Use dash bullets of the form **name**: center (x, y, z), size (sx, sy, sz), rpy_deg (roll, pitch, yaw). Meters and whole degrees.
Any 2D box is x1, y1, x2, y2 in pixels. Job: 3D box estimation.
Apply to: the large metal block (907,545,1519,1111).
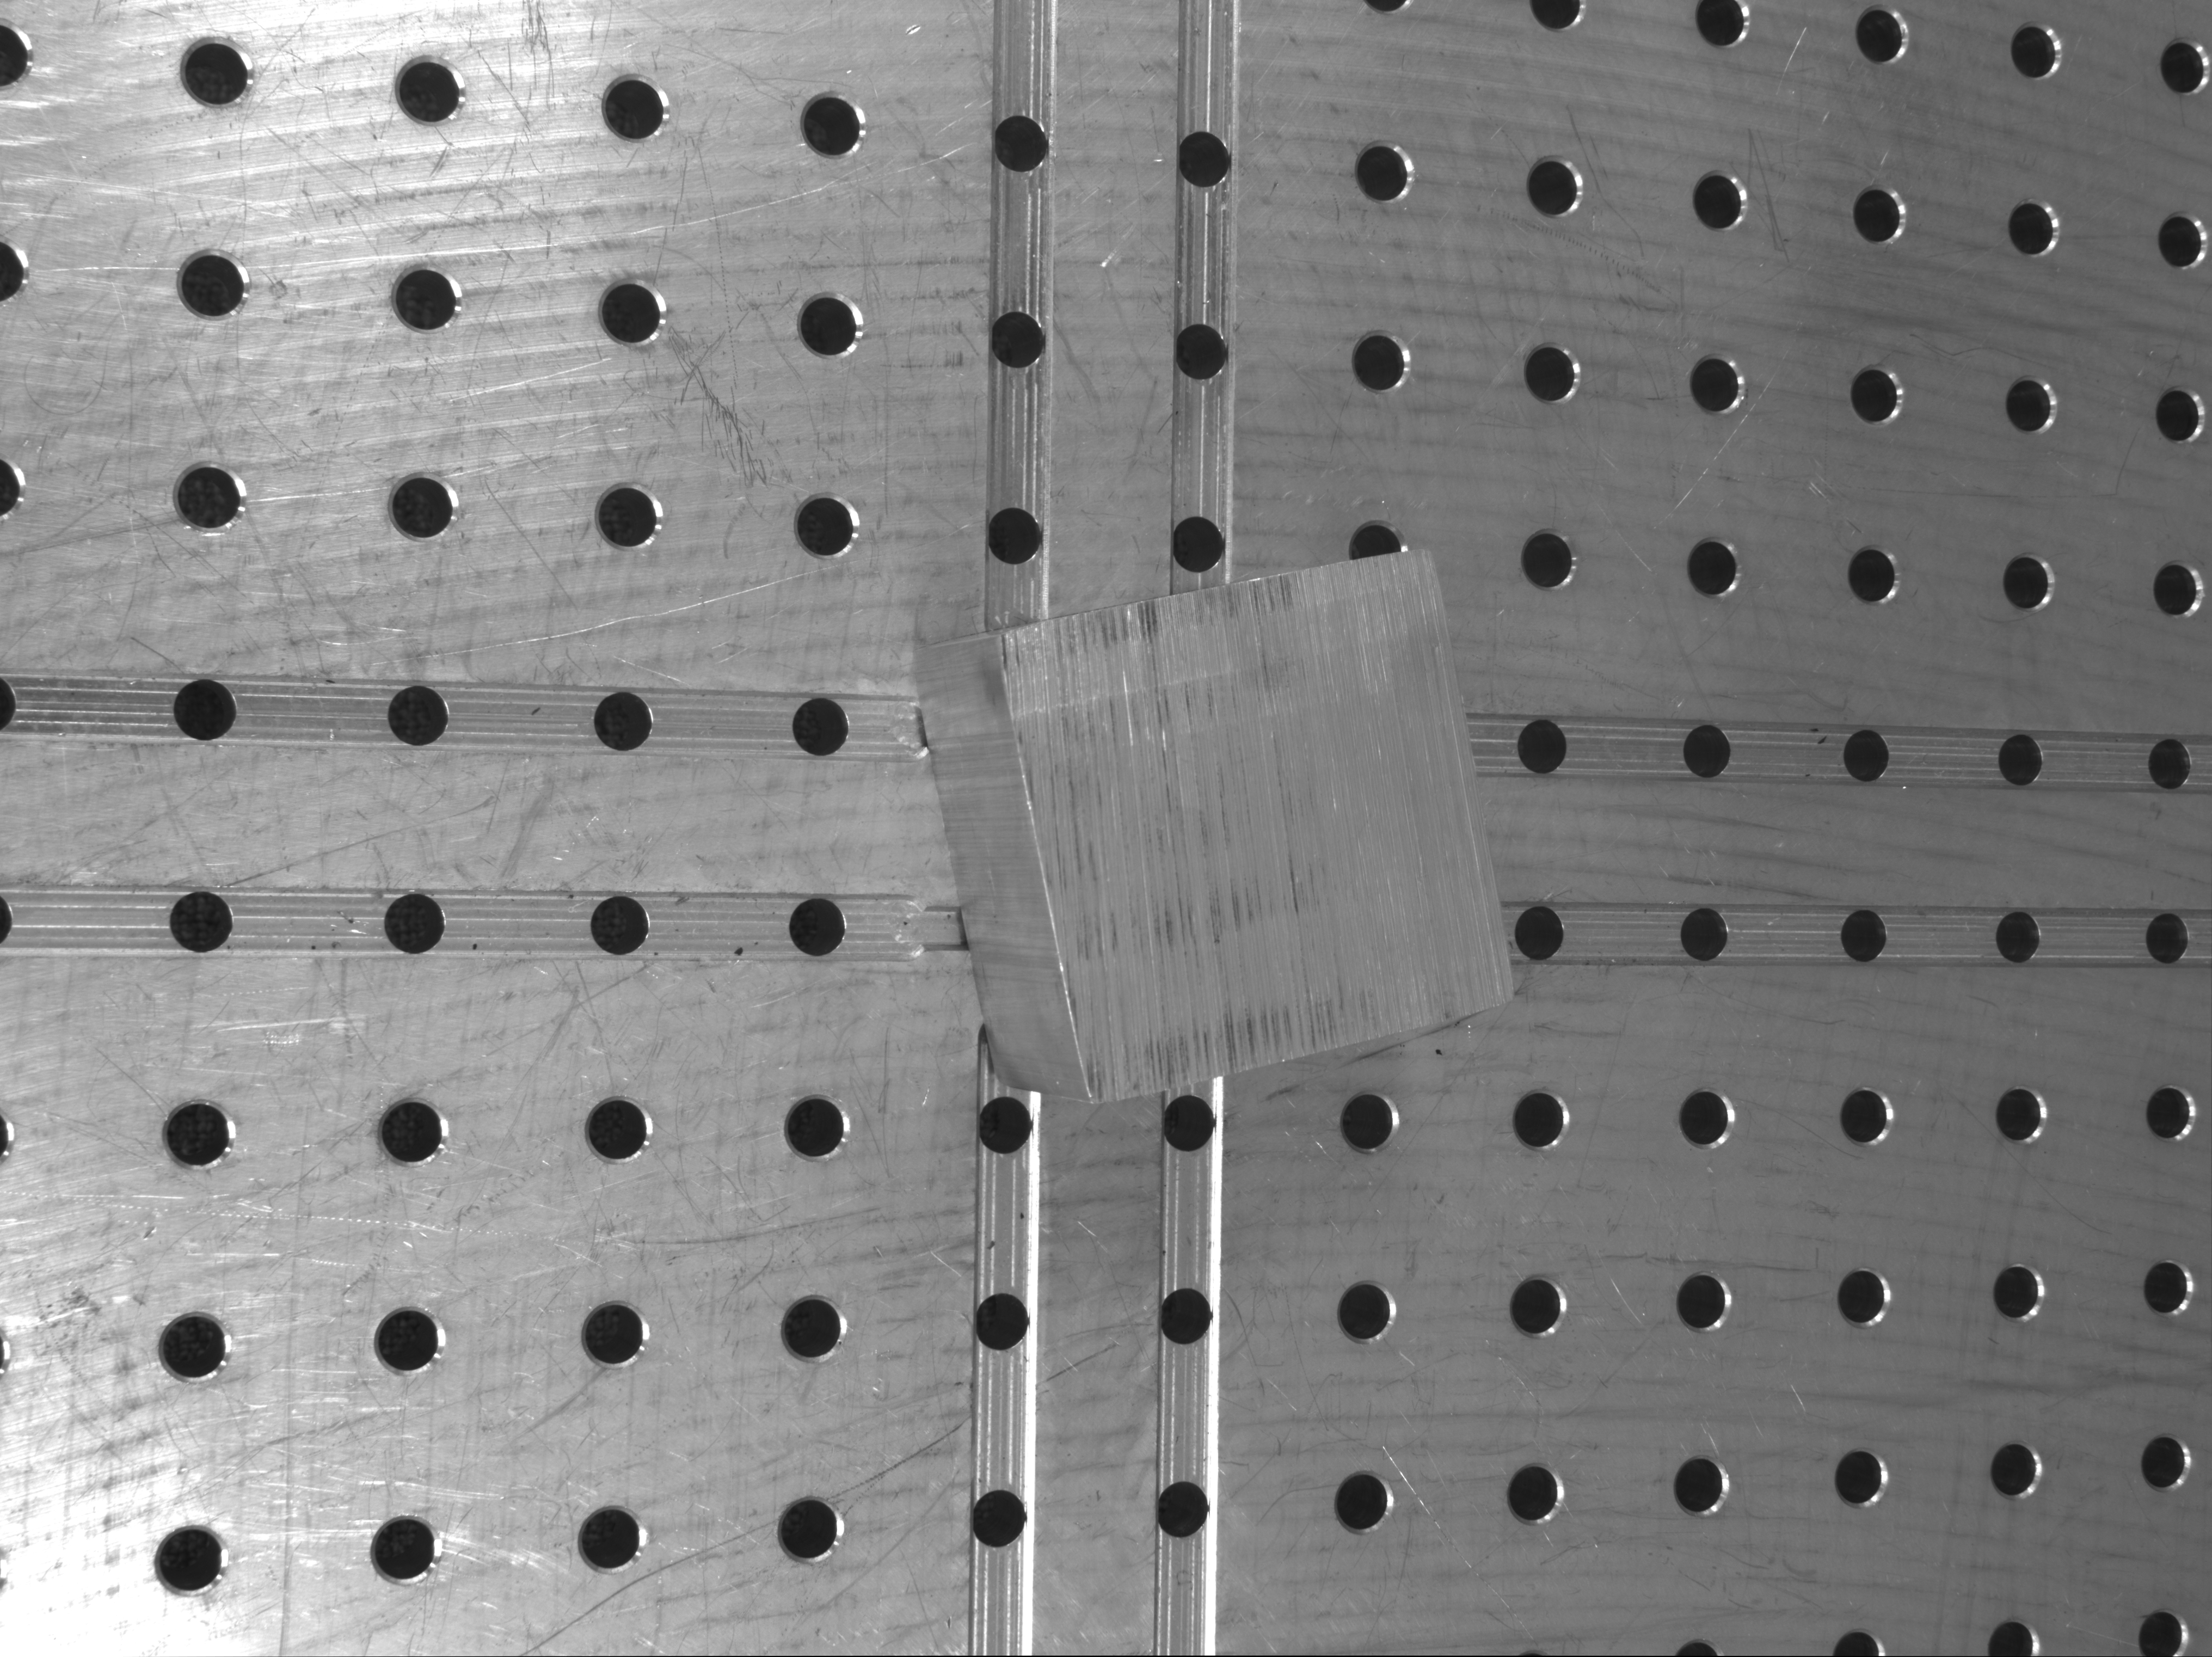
- **large metal block**: center (0.018, -0.001, 0.638), size (0.080, 0.050, 0.080), rpy_deg (-13, 94, -19)
